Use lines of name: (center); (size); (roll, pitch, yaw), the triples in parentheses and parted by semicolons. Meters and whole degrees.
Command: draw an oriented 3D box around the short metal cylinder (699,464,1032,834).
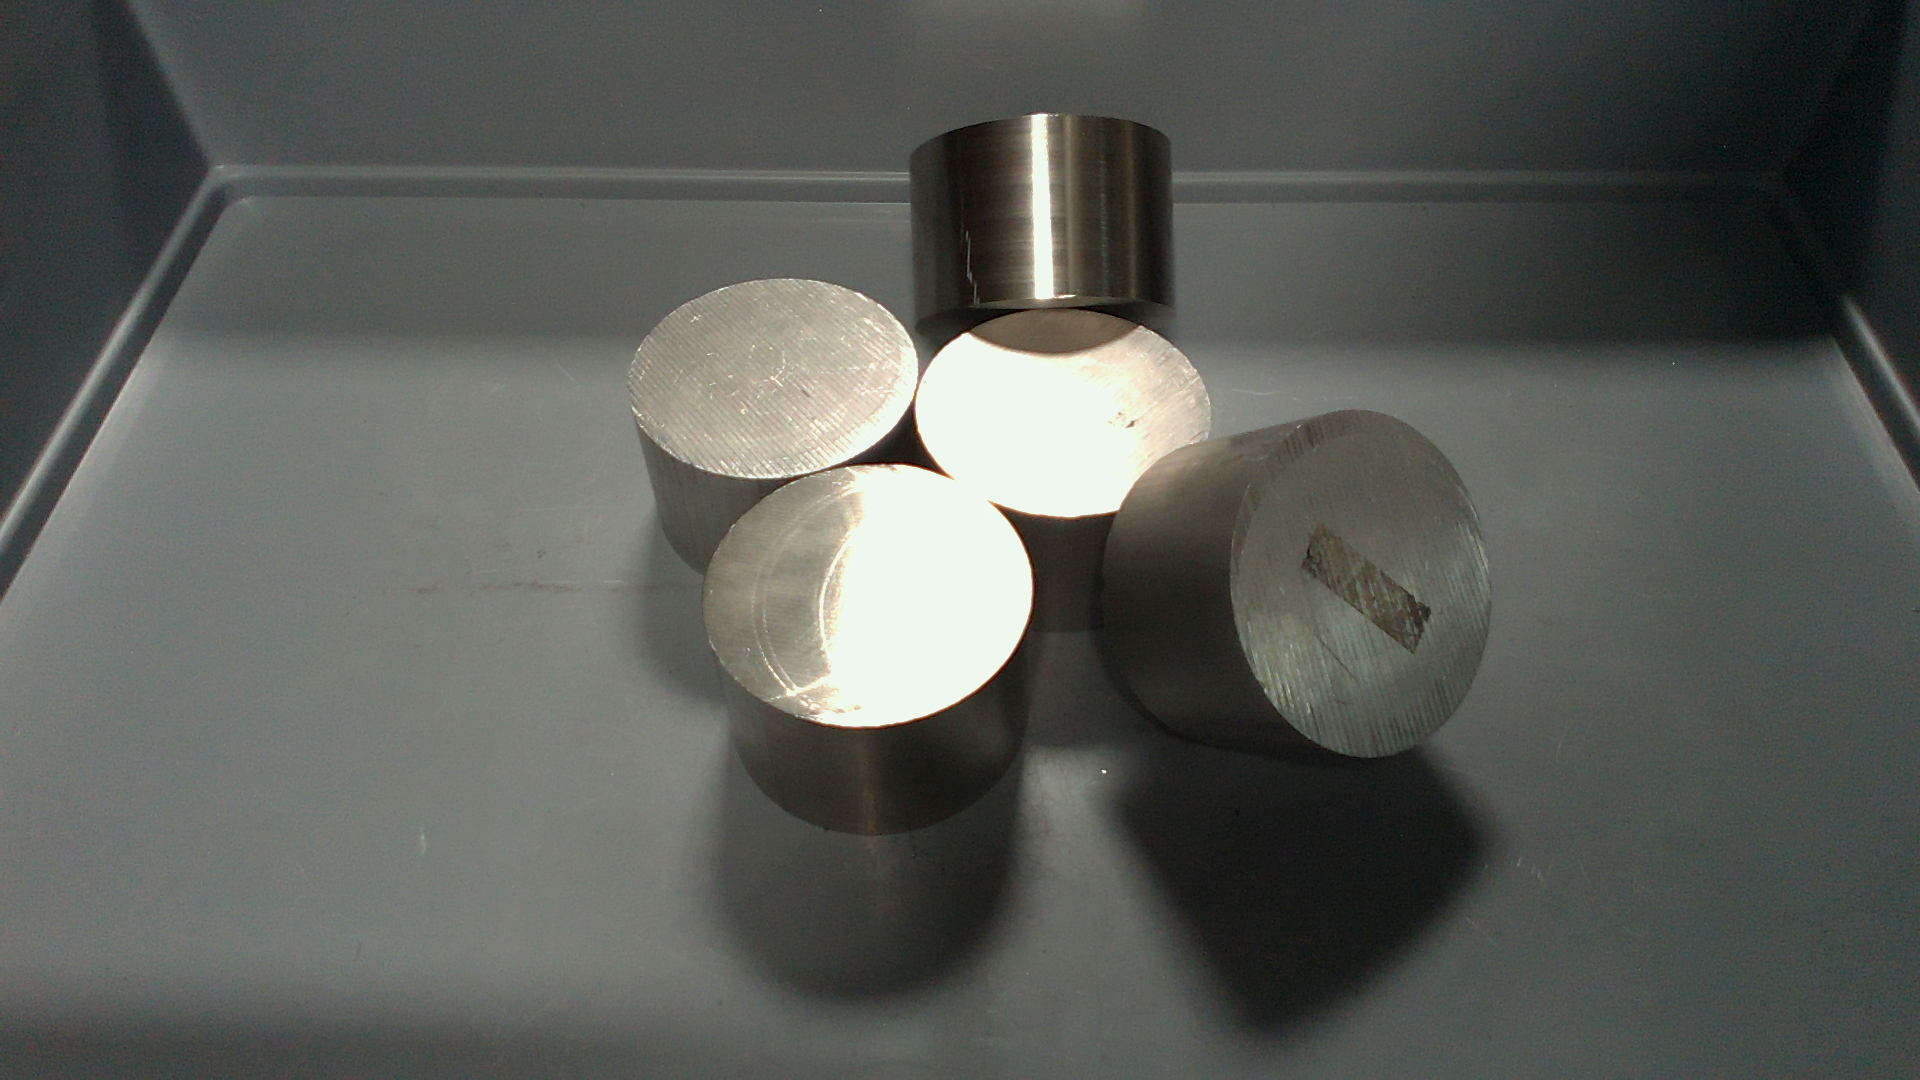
short metal cylinder: (-0.022, 0.027, 0.351); (0.080, 0.050, 0.080); (0, 50, 0)

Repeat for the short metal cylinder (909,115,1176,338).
short metal cylinder: (0.025, -0.092, 0.422); (0.080, 0.080, 0.050); (-2, 88, -2)

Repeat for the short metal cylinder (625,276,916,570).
short metal cylinder: (-0.052, -0.031, 0.399); (0.080, 0.050, 0.080); (0, 50, 0)

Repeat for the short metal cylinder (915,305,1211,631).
short metal cylinder: (0.028, -0.021, 0.391); (0.080, 0.050, 0.080); (0, 50, 0)

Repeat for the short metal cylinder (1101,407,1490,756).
short metal cylinder: (0.082, 0.011, 0.338); (0.080, 0.050, 0.080); (3, 84, -29)
